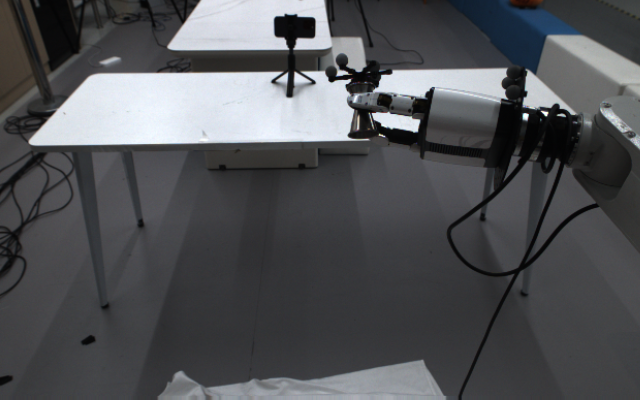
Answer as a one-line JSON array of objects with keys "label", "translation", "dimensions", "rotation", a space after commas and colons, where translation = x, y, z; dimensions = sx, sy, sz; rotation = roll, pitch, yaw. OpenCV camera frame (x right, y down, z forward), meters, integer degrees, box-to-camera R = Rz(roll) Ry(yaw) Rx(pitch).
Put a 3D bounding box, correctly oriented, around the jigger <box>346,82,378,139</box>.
[{"label": "jigger", "translation": [0.057, -0.124, 0.663], "dimensions": [0.043, 0.071, 0.043], "rotation": [-2, -7, 0]}]
